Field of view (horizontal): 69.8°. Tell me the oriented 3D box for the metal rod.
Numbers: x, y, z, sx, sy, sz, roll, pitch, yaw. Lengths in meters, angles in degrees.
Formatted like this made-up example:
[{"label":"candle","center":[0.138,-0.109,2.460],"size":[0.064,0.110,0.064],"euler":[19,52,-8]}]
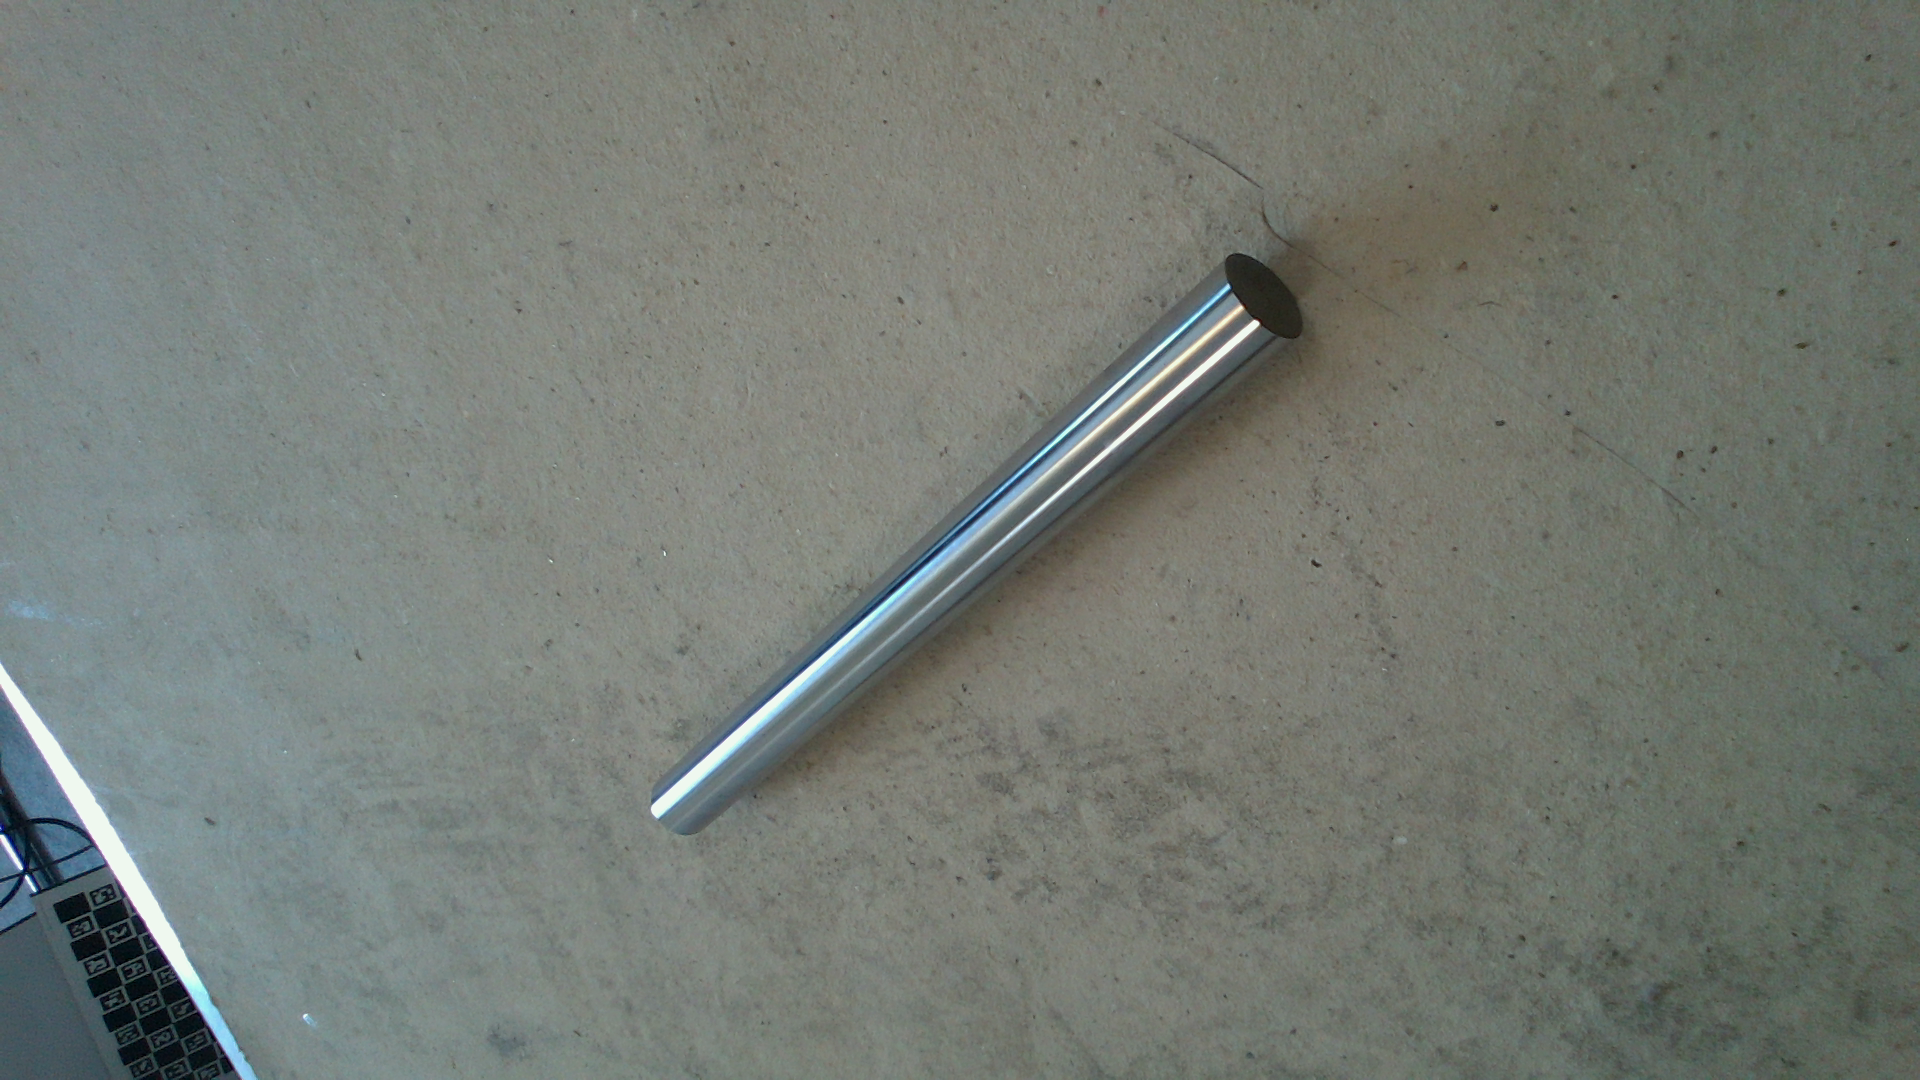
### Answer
[{"label":"metal rod","center":[-0.017,0.020,0.415],"size":[0.025,0.025,0.299],"euler":[46,129,-4]}]
